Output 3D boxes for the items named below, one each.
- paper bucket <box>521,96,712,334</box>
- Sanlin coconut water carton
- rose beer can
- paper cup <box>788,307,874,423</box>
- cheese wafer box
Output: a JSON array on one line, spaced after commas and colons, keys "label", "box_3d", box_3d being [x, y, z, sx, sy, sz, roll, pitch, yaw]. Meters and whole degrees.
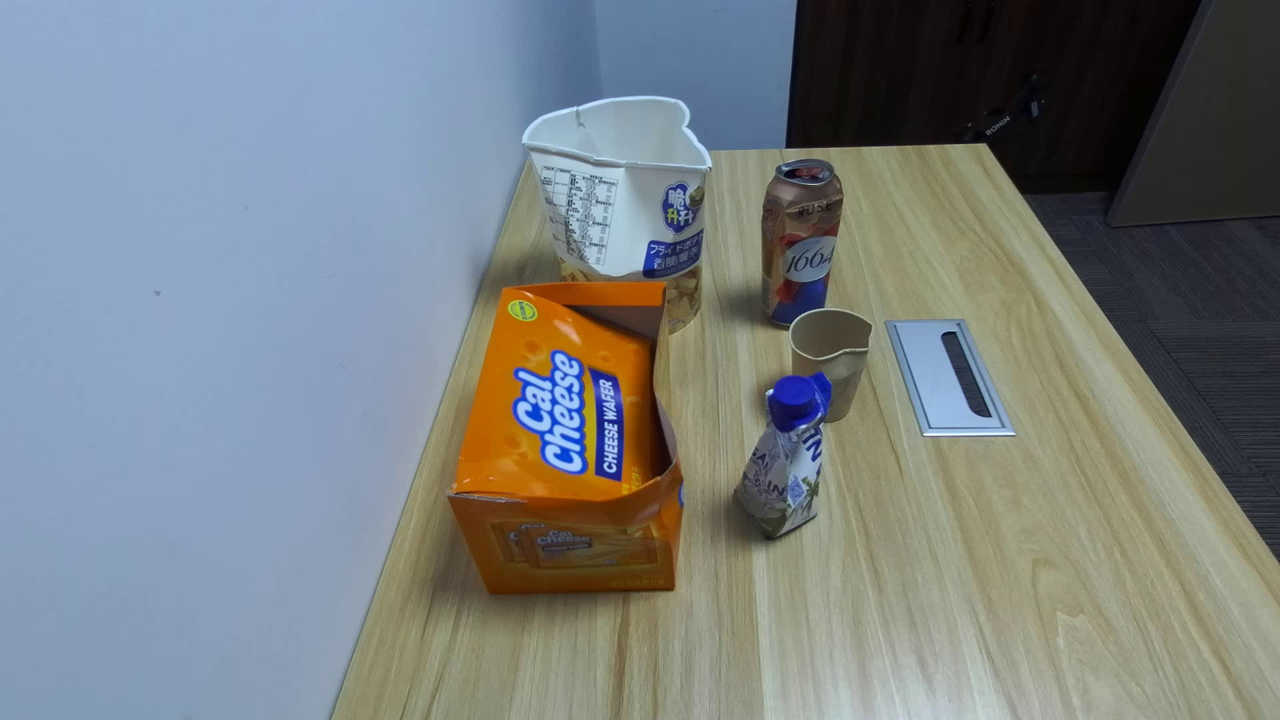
[{"label": "paper bucket", "box_3d": [-0.019, -0.137, 0.717, 0.163, 0.202, 0.168, -9, 40, -2]}, {"label": "Sanlin coconut water carton", "box_3d": [0.117, 0.069, 0.523, 0.069, 0.144, 0.056, -16, 49, -25]}, {"label": "rose beer can", "box_3d": [0.159, -0.112, 0.702, 0.076, 0.167, 0.065, -9, 40, -3]}, {"label": "paper cup", "box_3d": [0.164, 0.008, 0.627, 0.068, 0.081, 0.073, 10, 44, 18]}, {"label": "cheese wafer box", "box_3d": [-0.044, 0.058, 0.561, 0.152, 0.132, 0.230, -1, 41, 2]}]
